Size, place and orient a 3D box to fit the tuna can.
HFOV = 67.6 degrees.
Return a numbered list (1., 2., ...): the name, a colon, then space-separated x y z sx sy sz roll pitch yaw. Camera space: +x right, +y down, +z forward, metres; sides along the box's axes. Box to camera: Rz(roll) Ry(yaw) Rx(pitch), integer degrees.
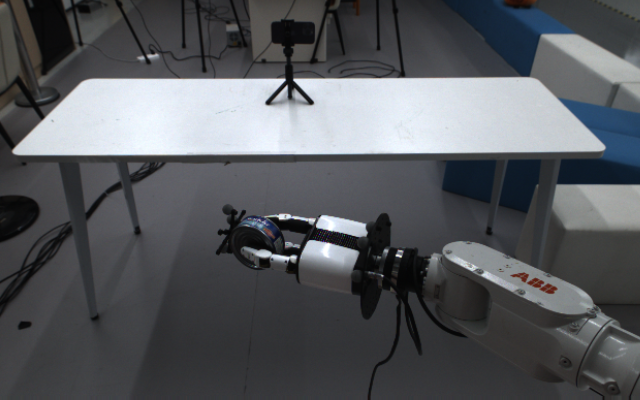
1. tuna can: -0.099 0.067 0.775 0.085 0.085 0.034 14 31 16
